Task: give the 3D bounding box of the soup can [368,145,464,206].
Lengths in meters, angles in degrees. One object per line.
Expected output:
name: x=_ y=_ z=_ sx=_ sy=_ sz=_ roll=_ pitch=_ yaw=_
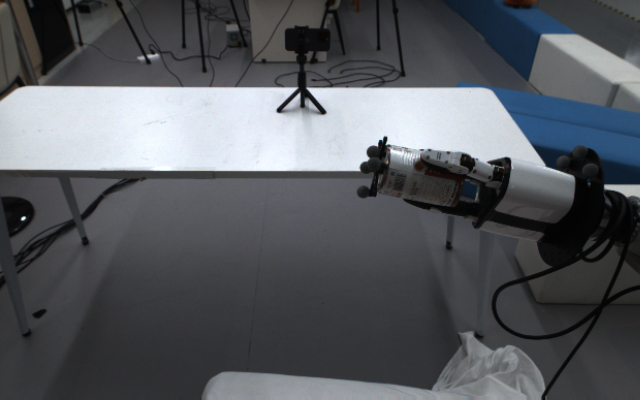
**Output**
soup can: x=0.132 y=-0.033 z=0.637 sx=0.101 sy=0.067 sz=0.067 roll=11 pitch=35 yaw=-2
